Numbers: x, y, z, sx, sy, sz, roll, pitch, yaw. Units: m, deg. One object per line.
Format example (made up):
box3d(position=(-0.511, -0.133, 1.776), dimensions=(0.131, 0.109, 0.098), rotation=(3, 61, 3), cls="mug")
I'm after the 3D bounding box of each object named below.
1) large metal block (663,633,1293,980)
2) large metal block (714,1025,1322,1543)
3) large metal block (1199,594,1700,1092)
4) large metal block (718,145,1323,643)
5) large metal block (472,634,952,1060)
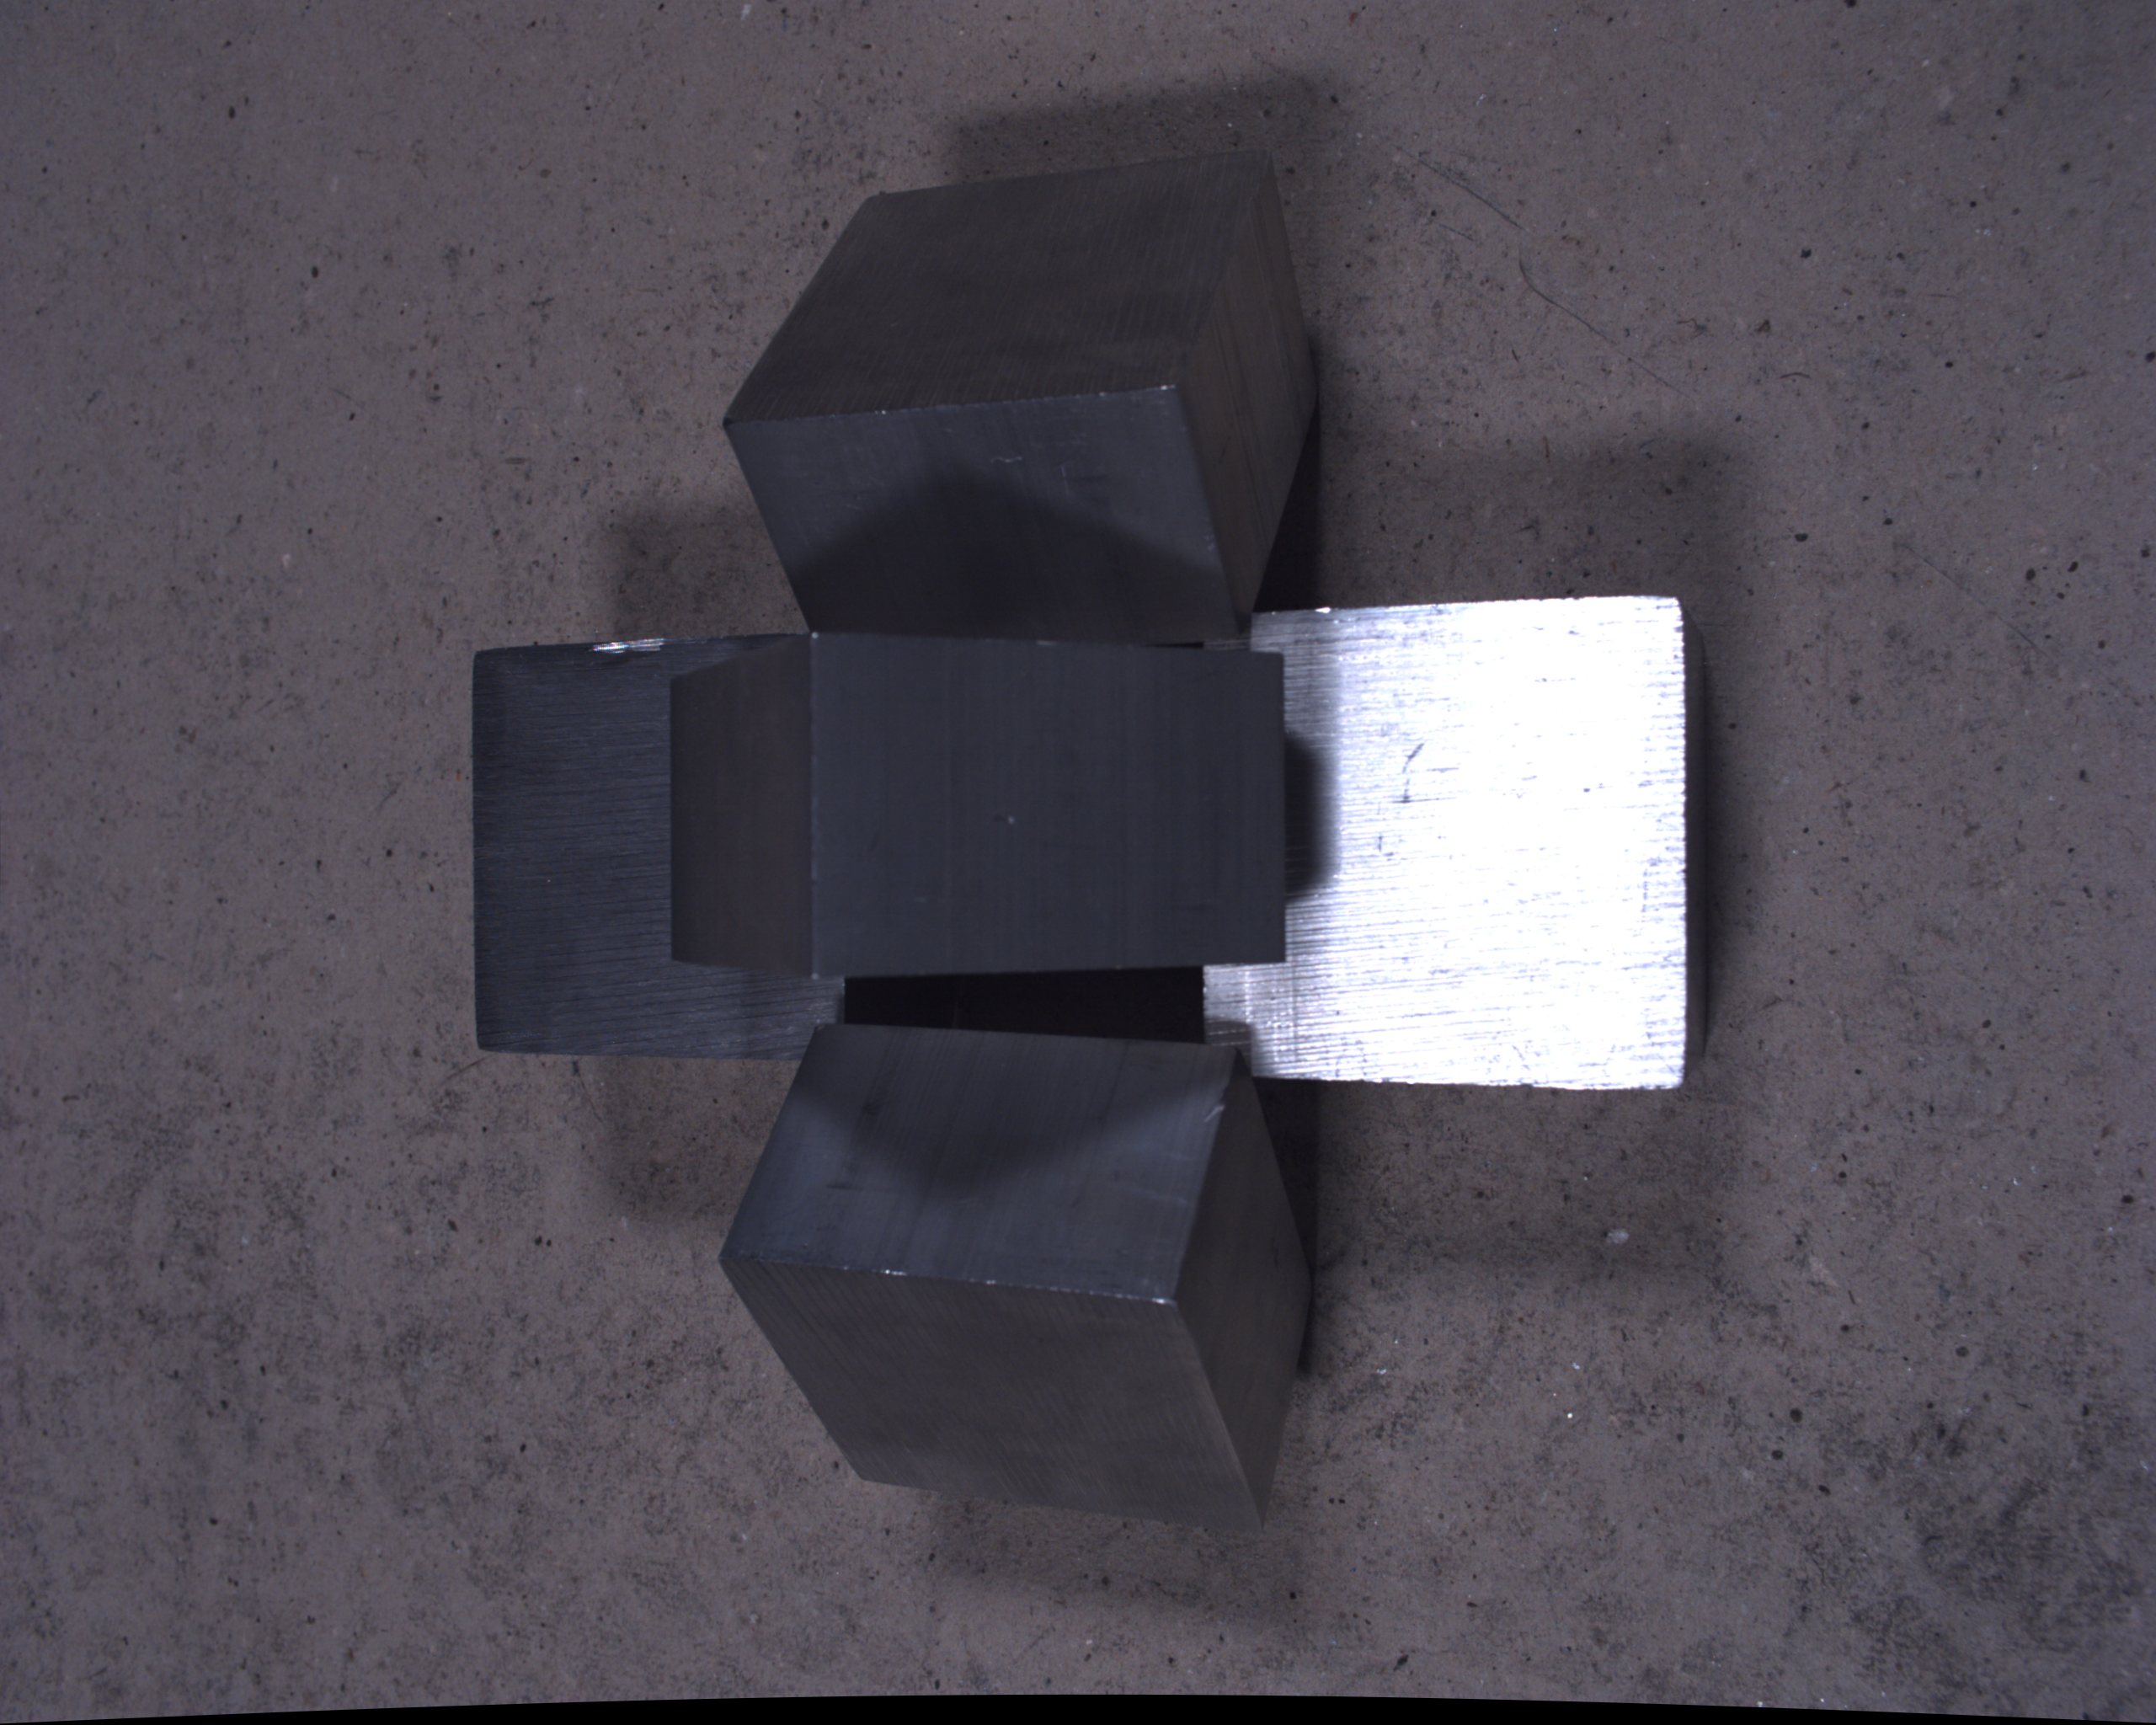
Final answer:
box3d(position=(-0.020, -0.008, 0.352), dimensions=(0.080, 0.081, 0.050), rotation=(0, 90, 64), cls="large metal block")
box3d(position=(-0.006, 0.076, 0.376), dimensions=(0.080, 0.080, 0.050), rotation=(1, 47, 20), cls="large metal block")
box3d(position=(0.067, -0.003, 0.370), dimensions=(0.080, 0.050, 0.079), rotation=(0, 90, 19), cls="large metal block")
box3d(position=(-0.006, -0.083, 0.376), dimensions=(0.080, 0.080, 0.050), rotation=(0, 134, 20), cls="large metal block")
box3d(position=(-0.073, -0.003, 0.421), dimensions=(0.080, 0.050, 0.079), rotation=(0, 90, 19), cls="large metal block")
